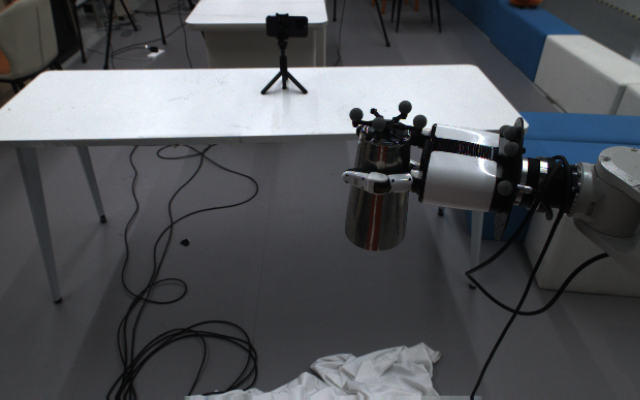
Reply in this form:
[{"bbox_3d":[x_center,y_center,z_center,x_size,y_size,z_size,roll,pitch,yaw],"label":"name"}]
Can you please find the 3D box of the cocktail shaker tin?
[{"bbox_3d":[0.088,-0.025,0.677,0.093,0.170,0.093,1,39,-1],"label":"cocktail shaker tin"}]
